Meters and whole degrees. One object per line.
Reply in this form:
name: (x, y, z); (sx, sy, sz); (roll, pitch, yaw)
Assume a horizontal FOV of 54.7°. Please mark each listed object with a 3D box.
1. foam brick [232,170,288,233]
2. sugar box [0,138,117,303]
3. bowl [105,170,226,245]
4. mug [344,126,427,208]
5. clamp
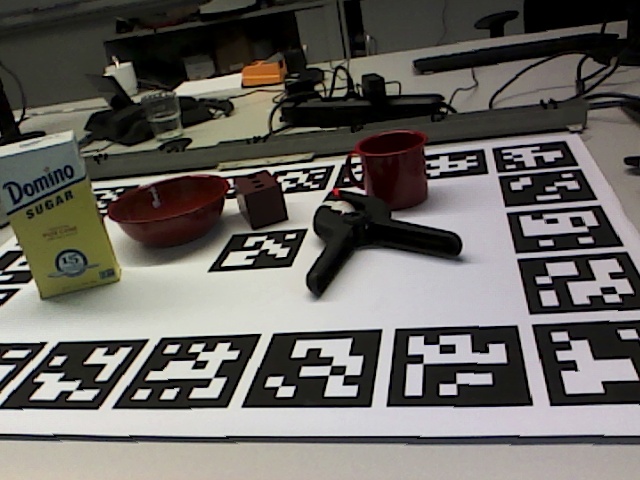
foam brick: (-0.082, -0.053, 0.837); (0.052, 0.051, 0.078); (-18, 30, -11)
sugar box: (-0.303, -0.020, 0.710); (0.092, 0.176, 0.045); (-15, 30, -10)
bowl: (-0.202, -0.038, 0.835); (0.162, 0.055, 0.162); (-8, 28, 4)
mug: (0.083, -0.097, 0.810); (0.118, 0.081, 0.093); (14, 36, 33)
clamp: (0.035, -0.015, 0.716); (0.165, 0.036, 0.204); (-17, 29, -7)
